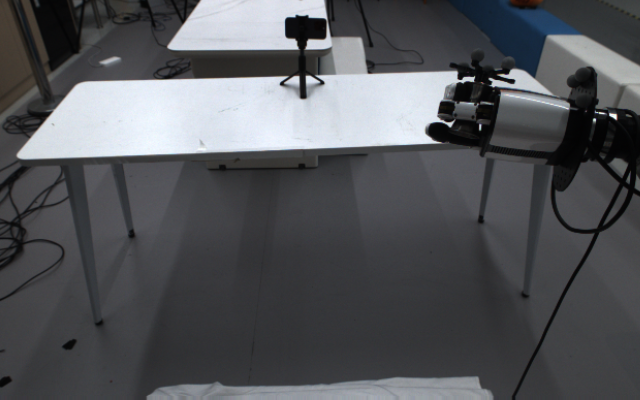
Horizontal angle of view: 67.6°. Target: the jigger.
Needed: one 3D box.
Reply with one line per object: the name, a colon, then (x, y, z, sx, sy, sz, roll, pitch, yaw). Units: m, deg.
jigger: (0.204, -0.121, 0.651, 0.043, 0.071, 0.043, 17, 2, -1)
